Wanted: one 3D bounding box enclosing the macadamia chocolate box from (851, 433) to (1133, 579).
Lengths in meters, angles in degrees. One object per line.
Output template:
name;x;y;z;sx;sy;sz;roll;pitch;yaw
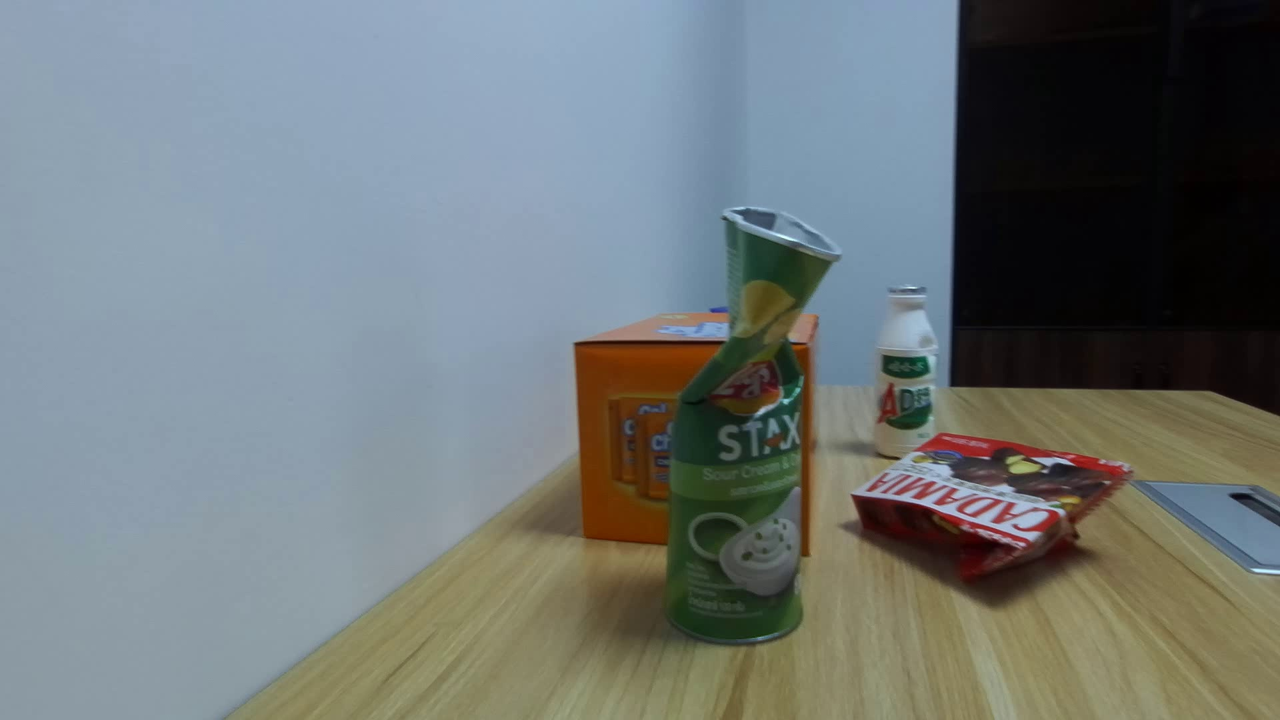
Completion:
macadamia chocolate box;0.200;0.084;0.421;0.112;0.056;0.126;-5;9;-30

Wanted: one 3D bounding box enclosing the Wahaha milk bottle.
Wahaha milk bottle;0.232;0.016;0.618;0.053;0.136;0.053;-1;8;0

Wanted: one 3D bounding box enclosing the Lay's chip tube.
Lay's chip tube;0.054;0.032;0.339;0.071;0.199;0.079;9;11;28

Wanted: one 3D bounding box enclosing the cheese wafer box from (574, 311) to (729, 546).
cheese wafer box;0.057;0.037;0.525;0.148;0.129;0.222;1;9;15
